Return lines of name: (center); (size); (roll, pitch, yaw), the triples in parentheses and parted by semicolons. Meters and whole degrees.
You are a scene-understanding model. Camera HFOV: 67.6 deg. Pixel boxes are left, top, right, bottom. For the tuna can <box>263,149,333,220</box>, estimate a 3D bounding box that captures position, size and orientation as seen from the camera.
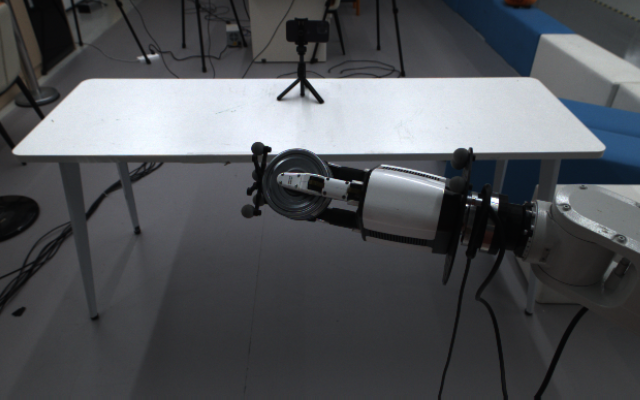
tuna can: (-0.023, -0.016, 0.590); (0.085, 0.085, 0.034); (9, -6, 11)
